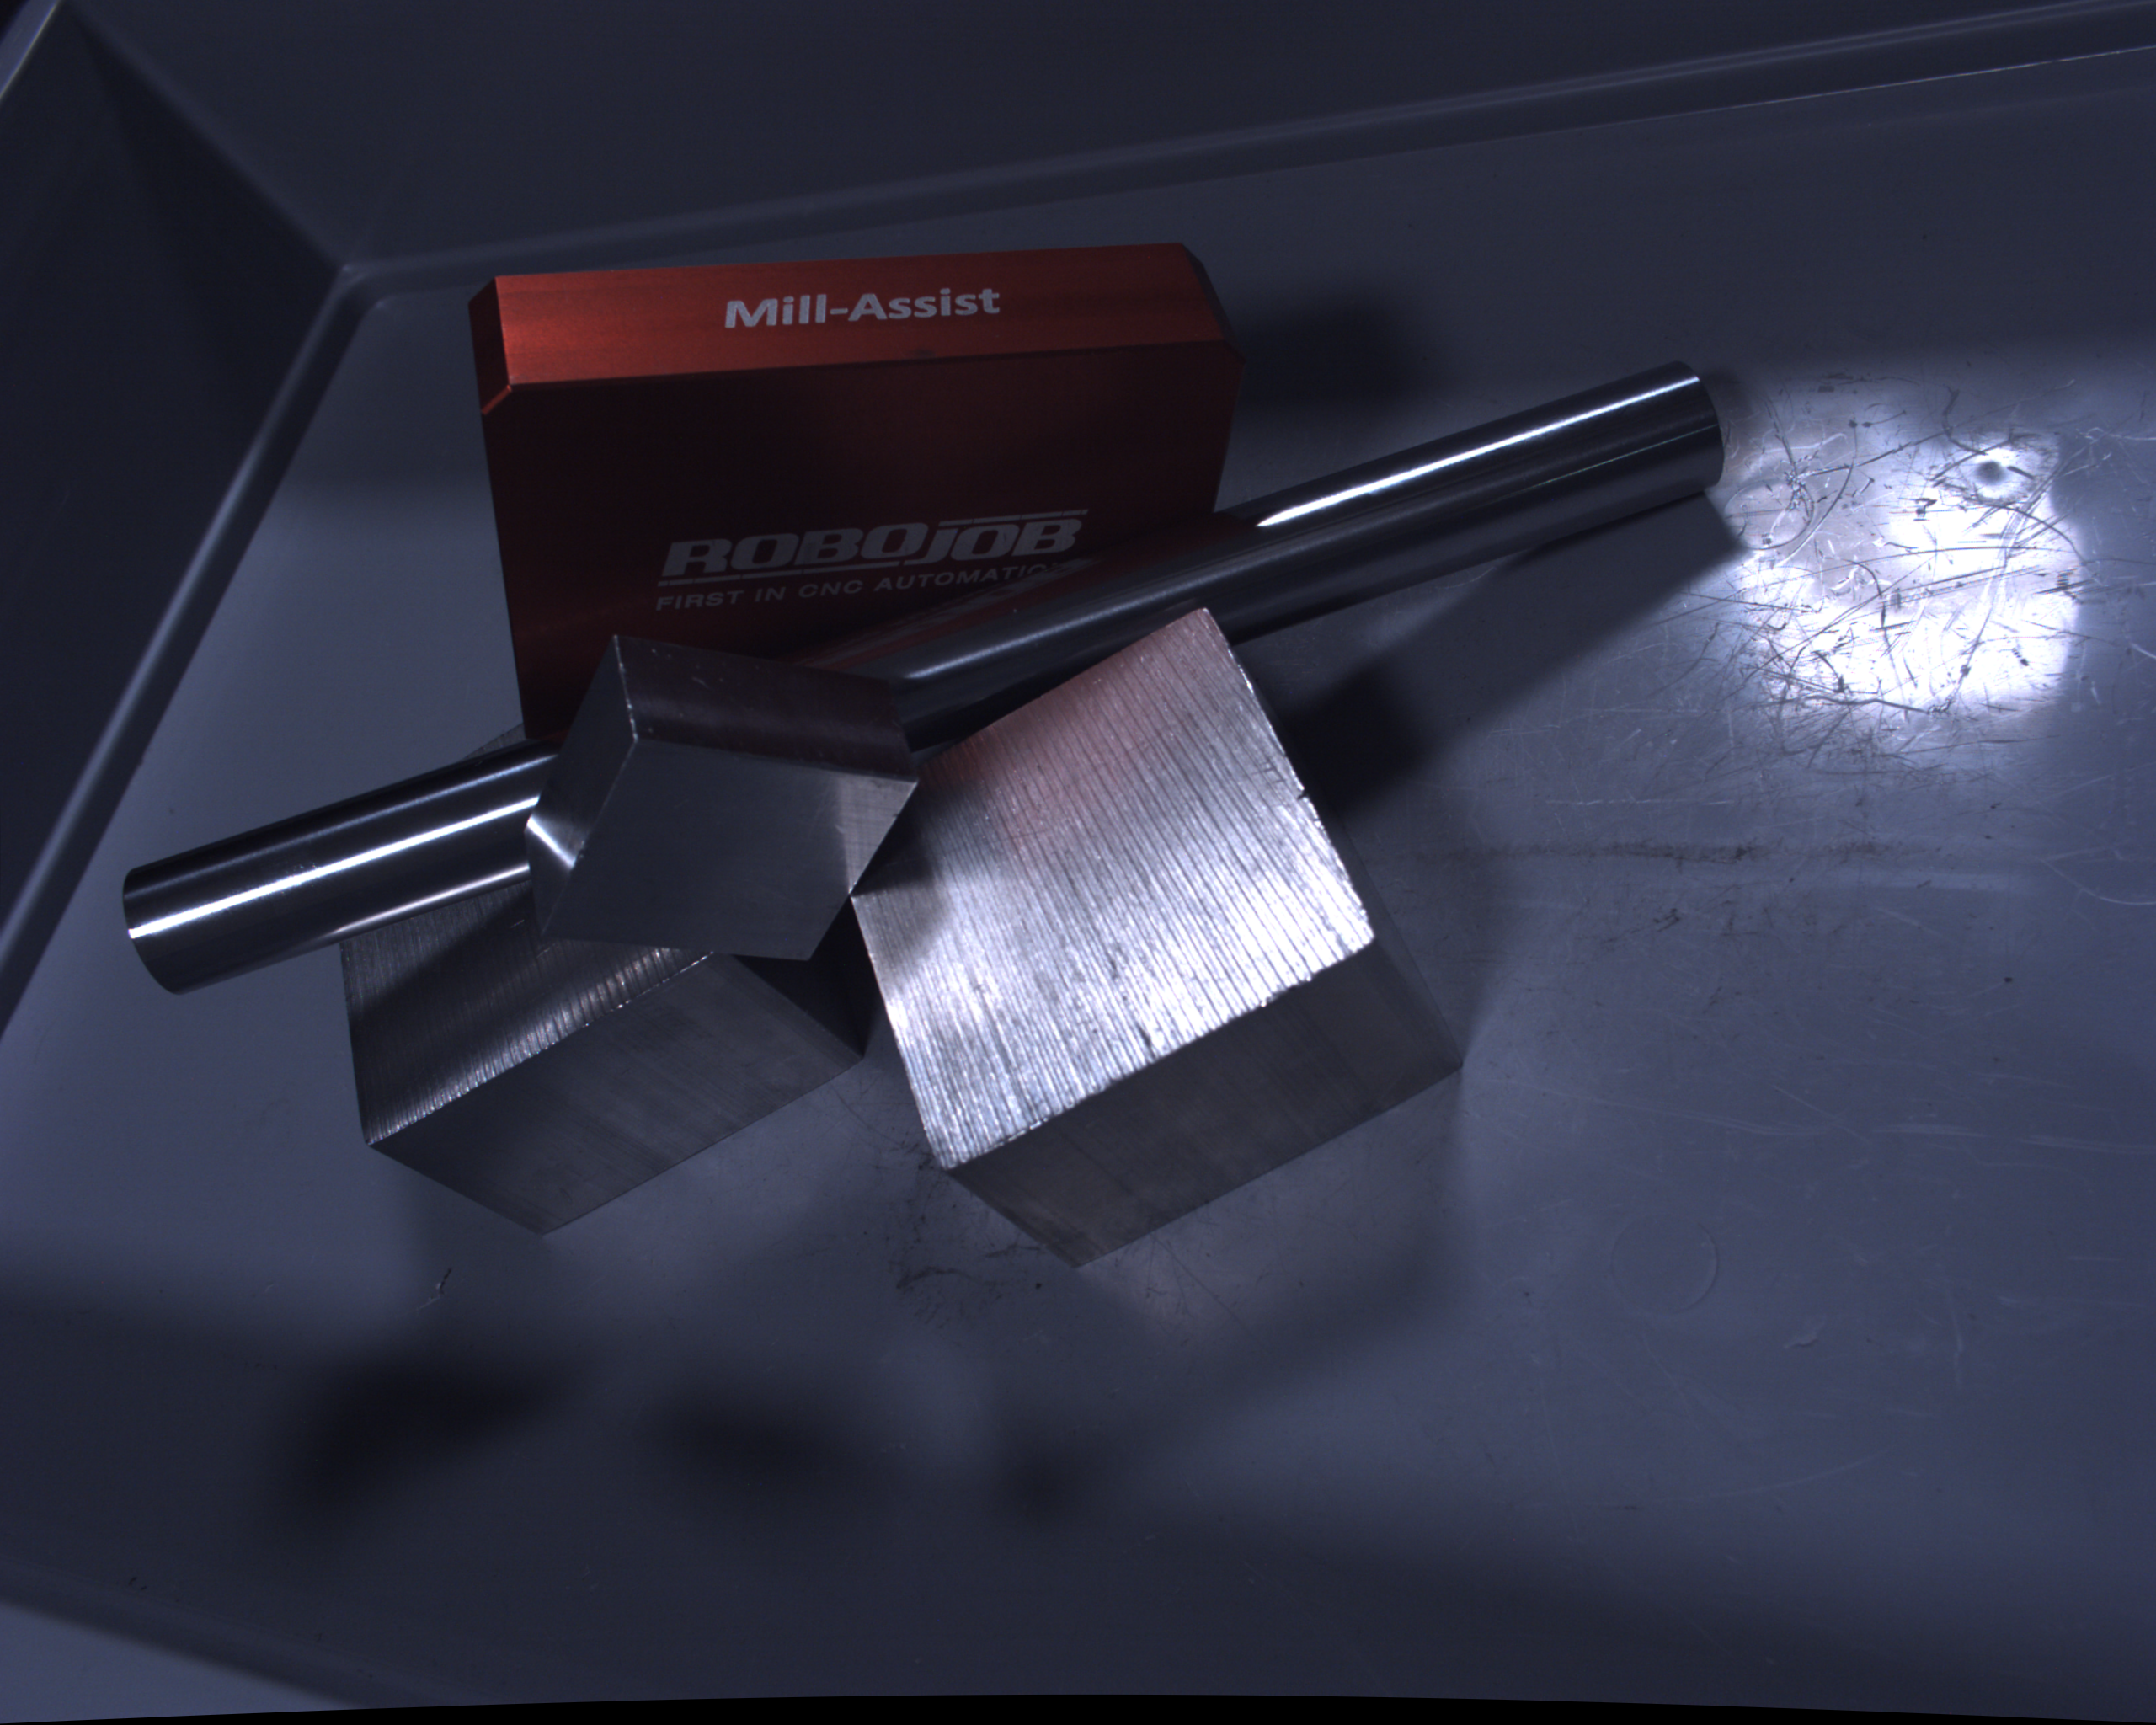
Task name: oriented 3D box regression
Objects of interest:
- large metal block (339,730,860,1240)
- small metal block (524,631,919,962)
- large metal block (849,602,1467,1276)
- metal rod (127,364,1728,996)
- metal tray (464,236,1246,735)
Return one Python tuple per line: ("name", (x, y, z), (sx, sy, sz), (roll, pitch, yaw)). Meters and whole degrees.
("large metal block", (-0.101, 0.017, 0.426), (0.080, 0.050, 0.080), (-29, 52, 9))
("small metal block", (-0.063, -0.010, 0.363), (0.050, 0.050, 0.025), (-55, 40, 38))
("large metal block", (0.010, 0.014, 0.373), (0.080, 0.050, 0.080), (-29, 52, 9))
("metal rod", (-0.026, -0.035, 0.390), (0.302, 0.025, 0.025), (-18, 53, -2))
("metal tray", (-0.042, -0.068, 0.390), (0.131, 0.089, 0.030), (-7, 54, -14))
